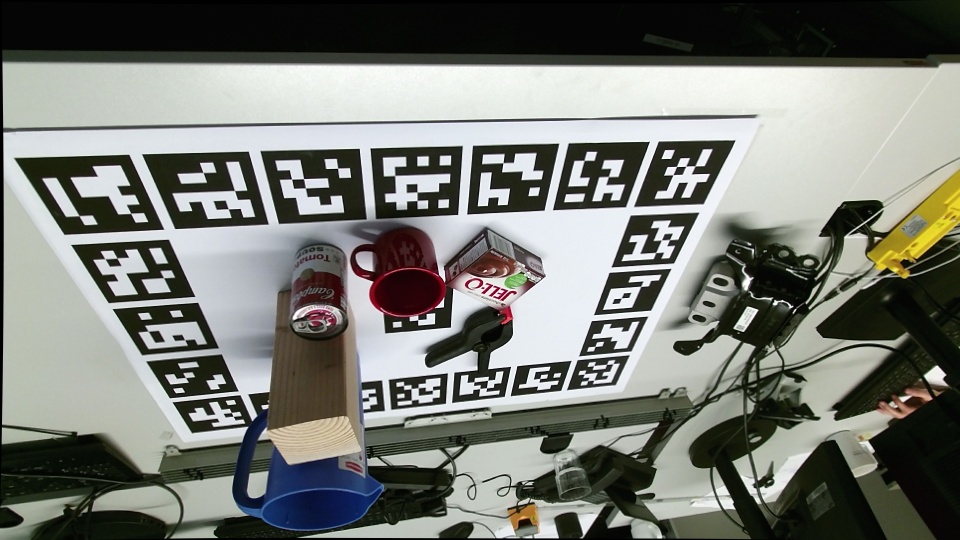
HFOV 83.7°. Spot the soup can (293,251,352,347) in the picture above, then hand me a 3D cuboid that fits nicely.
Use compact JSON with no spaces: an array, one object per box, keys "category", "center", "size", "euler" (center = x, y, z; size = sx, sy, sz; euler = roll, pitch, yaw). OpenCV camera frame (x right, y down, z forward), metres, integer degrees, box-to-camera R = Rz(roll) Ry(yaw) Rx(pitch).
[{"category":"soup can","center":[-0.194,0.034,0.655],"size":[0.068,0.101,0.068],"euler":[-8,134,-8]}]

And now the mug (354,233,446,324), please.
[{"category":"mug","center":[-0.103,0.004,0.666],"size":[0.117,0.081,0.093],"euler":[24,127,-35]}]

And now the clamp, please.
[{"category":"clamp","center":[-0.005,0.121,0.856],"size":[0.122,0.036,0.165],"euler":[23,125,-24]}]

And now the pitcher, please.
[{"category":"pitcher","center":[-0.237,0.234,0.750],"size":[0.189,0.241,0.133],"euler":[-7,138,-12]}]

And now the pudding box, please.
[{"category":"pudding box","center":[0.029,0.009,0.742],"size":[0.114,0.038,0.090],"euler":[26,120,-36]}]

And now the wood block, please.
[{"category":"wood block","center":[-0.207,0.135,0.680],"size":[0.090,0.205,0.091],"euler":[-5,136,-6]}]
